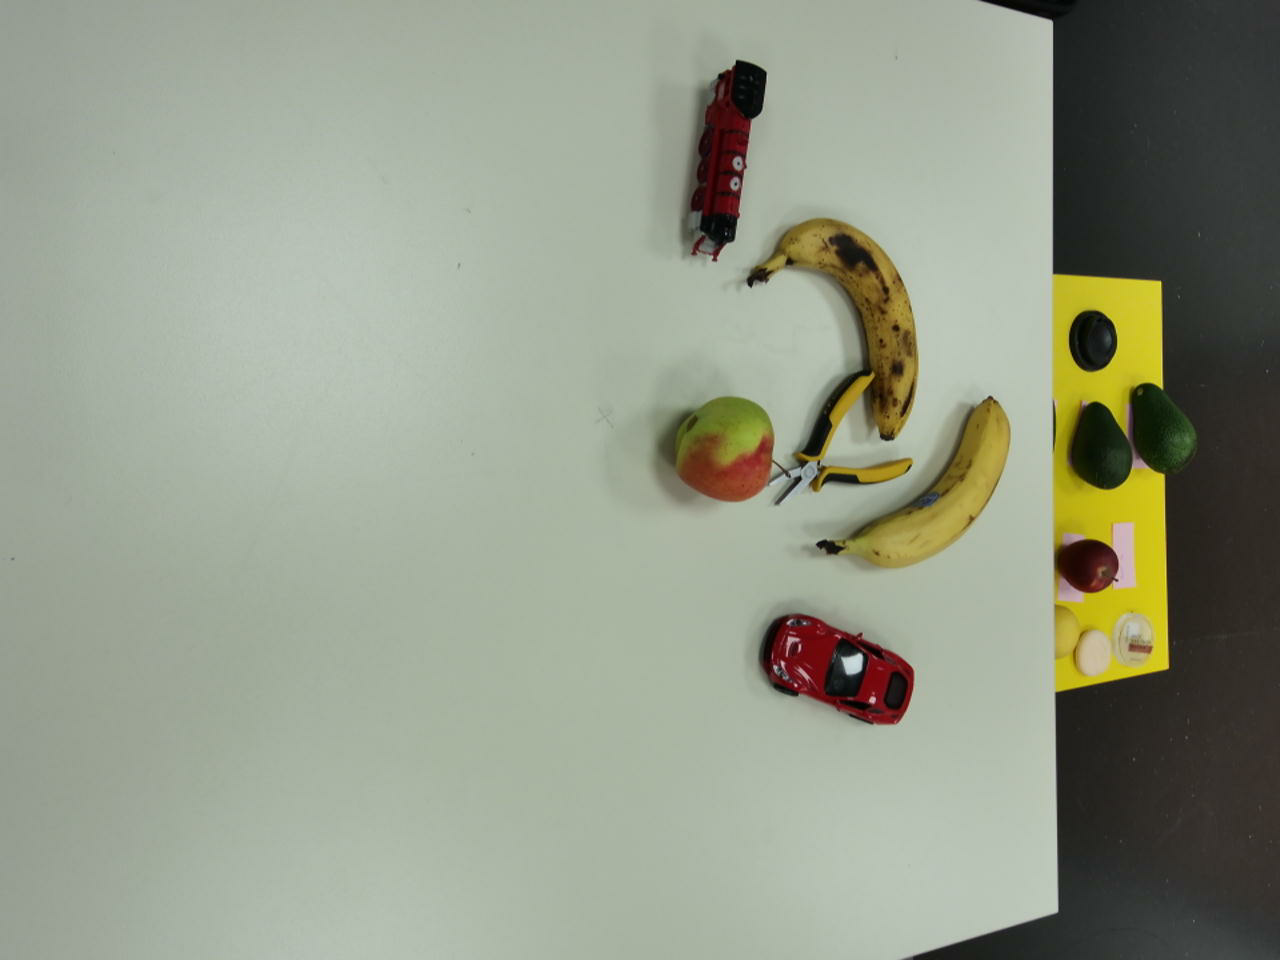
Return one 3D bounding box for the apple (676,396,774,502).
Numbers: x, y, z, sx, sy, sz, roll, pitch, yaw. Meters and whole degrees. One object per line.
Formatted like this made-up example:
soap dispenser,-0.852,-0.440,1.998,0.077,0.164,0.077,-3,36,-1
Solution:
apple,0.062,-0.021,0.716,0.075,0.074,0.075,-22,101,-27
